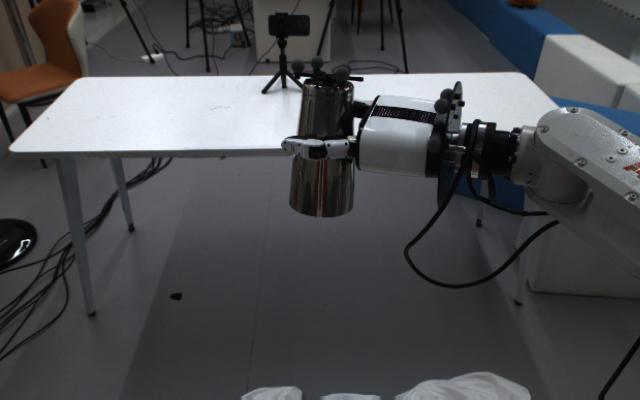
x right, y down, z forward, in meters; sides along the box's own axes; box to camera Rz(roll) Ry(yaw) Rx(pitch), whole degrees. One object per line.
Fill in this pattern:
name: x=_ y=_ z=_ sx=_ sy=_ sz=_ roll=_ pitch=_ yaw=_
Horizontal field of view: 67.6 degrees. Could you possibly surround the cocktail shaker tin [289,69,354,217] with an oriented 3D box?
cocktail shaker tin: x=0.007 y=-0.073 z=0.653 sx=0.093 sy=0.170 sz=0.093 roll=2 pitch=25 yaw=-1
